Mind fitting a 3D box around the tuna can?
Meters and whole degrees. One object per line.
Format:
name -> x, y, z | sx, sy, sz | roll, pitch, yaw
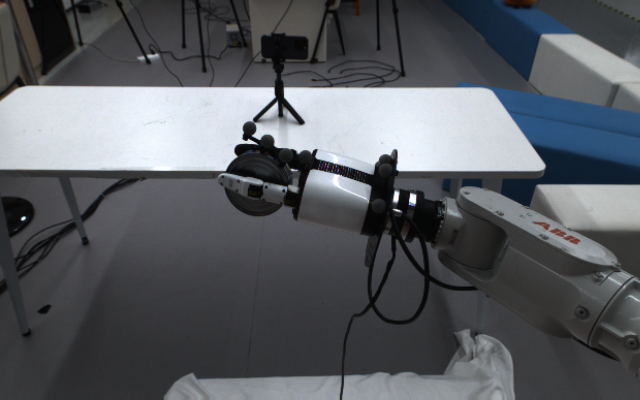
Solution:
tuna can -> -0.078, -0.024, 0.634 | 0.085, 0.085, 0.034 | 7, 16, 7
